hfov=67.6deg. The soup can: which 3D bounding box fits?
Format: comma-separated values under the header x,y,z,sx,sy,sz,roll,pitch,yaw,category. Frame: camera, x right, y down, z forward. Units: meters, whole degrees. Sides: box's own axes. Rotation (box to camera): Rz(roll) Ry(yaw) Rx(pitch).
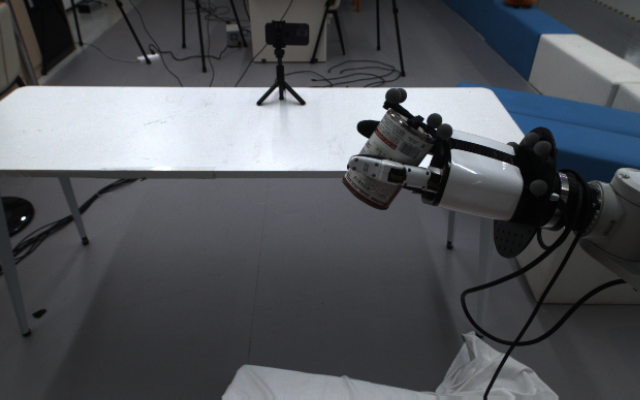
x,y,z,sx,sy,sz,roll,pitch,yaw,category
0.082,-0.048,0.577,0.067,0.101,0.067,28,22,-12,soup can
